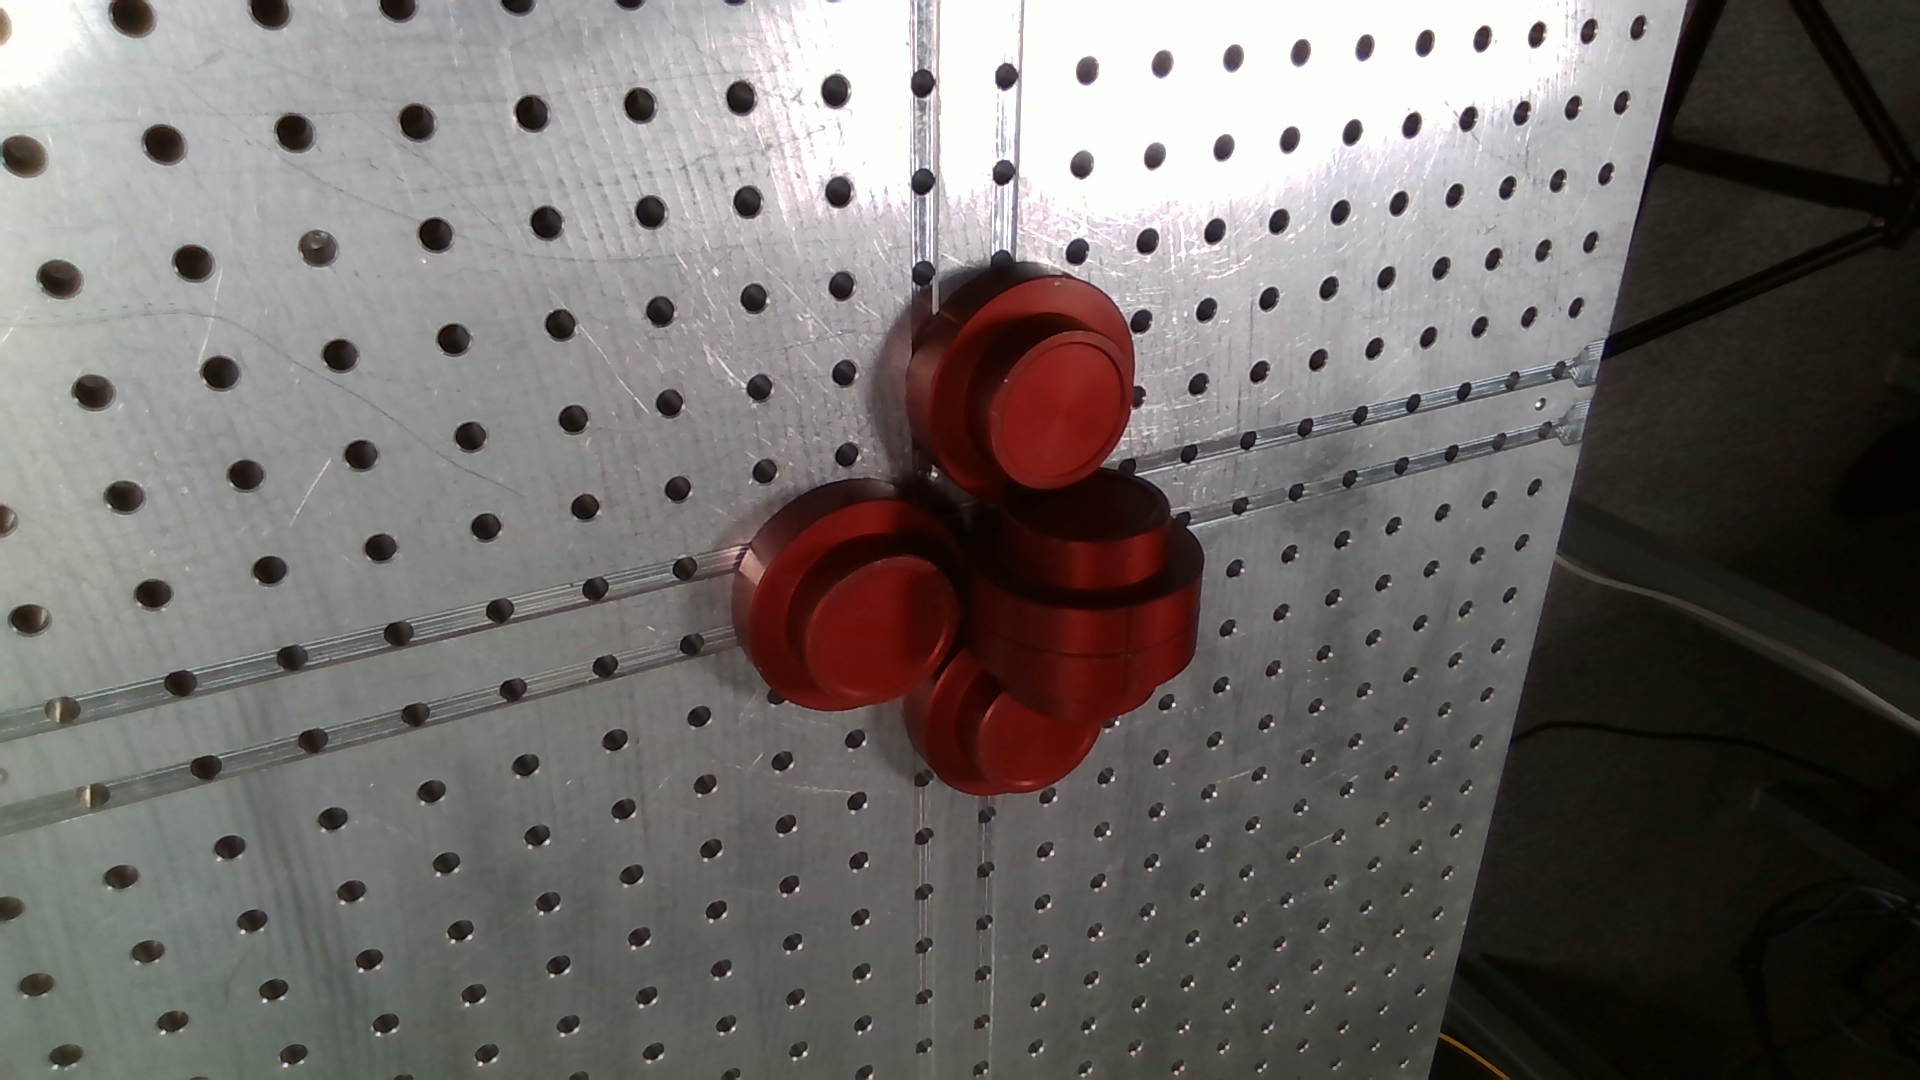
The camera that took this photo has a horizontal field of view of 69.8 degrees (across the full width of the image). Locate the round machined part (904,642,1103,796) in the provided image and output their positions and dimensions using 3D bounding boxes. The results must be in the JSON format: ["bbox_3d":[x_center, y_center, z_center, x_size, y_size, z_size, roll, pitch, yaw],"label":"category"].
[{"bbox_3d":[0.027,0.076,0.630,0.098,0.042,0.098,-14,122,-25],"label":"round machined part"}]

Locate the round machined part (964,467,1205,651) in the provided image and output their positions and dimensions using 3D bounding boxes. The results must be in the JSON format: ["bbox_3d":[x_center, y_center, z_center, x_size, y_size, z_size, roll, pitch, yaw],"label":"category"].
[{"bbox_3d":[0.050,0.002,0.560,0.098,0.098,0.042,-13,121,-25],"label":"round machined part"}]

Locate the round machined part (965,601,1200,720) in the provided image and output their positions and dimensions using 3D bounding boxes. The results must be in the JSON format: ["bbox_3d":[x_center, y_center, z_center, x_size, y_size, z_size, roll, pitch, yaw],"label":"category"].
[{"bbox_3d":[0.051,0.040,0.582,0.098,0.098,0.042,-15,122,-24],"label":"round machined part"}]

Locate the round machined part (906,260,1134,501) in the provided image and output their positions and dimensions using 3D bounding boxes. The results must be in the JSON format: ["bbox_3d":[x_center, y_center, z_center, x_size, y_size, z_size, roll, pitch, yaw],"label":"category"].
[{"bbox_3d":[0.031,-0.060,0.559,0.098,0.042,0.098,-14,122,-25],"label":"round machined part"}]

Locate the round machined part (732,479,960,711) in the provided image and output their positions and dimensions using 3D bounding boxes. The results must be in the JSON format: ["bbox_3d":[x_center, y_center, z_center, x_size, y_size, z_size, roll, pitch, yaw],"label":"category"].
[{"bbox_3d":[-0.040,0.028,0.563,0.098,0.042,0.098,-14,122,-25],"label":"round machined part"}]
